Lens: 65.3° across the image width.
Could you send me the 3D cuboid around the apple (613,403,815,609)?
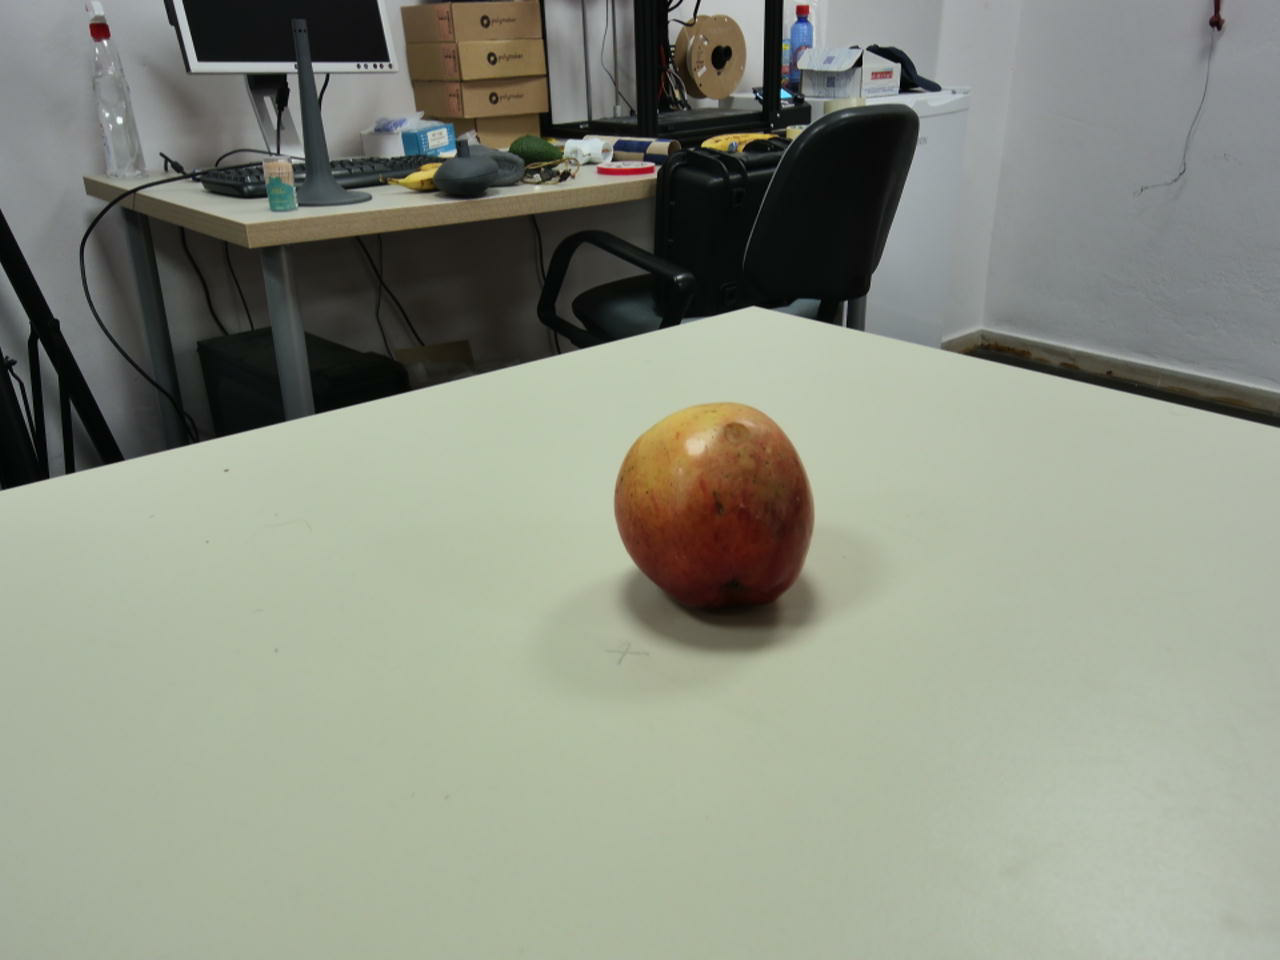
[{"bbox_3d":[0.032,0.010,0.436,0.086,0.084,0.093,5,22,14],"label":"apple"}]
